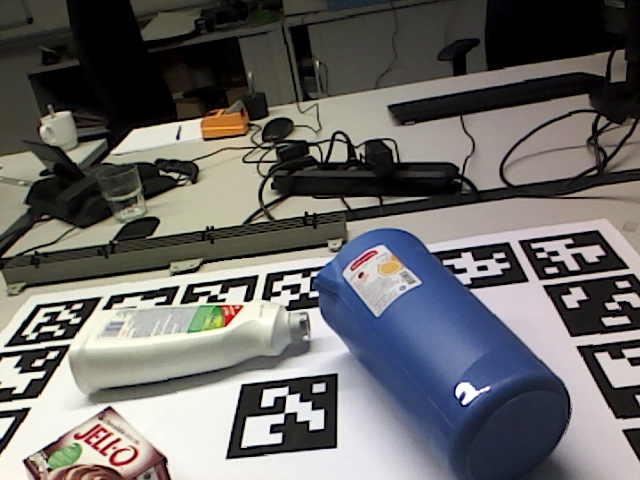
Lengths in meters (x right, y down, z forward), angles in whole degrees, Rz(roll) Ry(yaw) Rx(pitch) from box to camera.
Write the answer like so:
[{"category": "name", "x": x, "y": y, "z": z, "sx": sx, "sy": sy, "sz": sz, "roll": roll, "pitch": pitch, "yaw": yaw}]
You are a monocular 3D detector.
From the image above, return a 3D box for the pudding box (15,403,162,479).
[{"category": "pudding box", "x": -0.206, "y": 0.203, "z": 0.551, "sx": 0.089, "sy": 0.038, "sz": 0.115, "roll": -24, "pitch": 31, "yaw": -36}]

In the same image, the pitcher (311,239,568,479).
[{"category": "pitcher", "x": 0.109, "y": 0.111, "z": 0.565, "sx": 0.187, "sy": 0.133, "sz": 0.244, "roll": 15, "pitch": 20, "yaw": -31}]

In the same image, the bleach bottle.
[{"category": "bleach bottle", "x": -0.142, "y": 0.108, "z": 0.696, "sx": 0.251, "sy": 0.067, "sz": 0.103, "roll": -7, "pitch": 31, "yaw": 3}]
